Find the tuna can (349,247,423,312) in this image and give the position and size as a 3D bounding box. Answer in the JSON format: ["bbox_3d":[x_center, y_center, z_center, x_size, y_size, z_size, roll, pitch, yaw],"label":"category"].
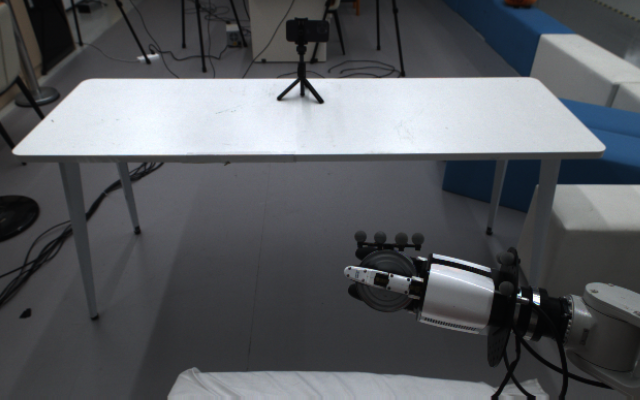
[{"bbox_3d":[0.095,0.110,0.669,0.085,0.085,0.034,13,-3,16],"label":"tuna can"}]
